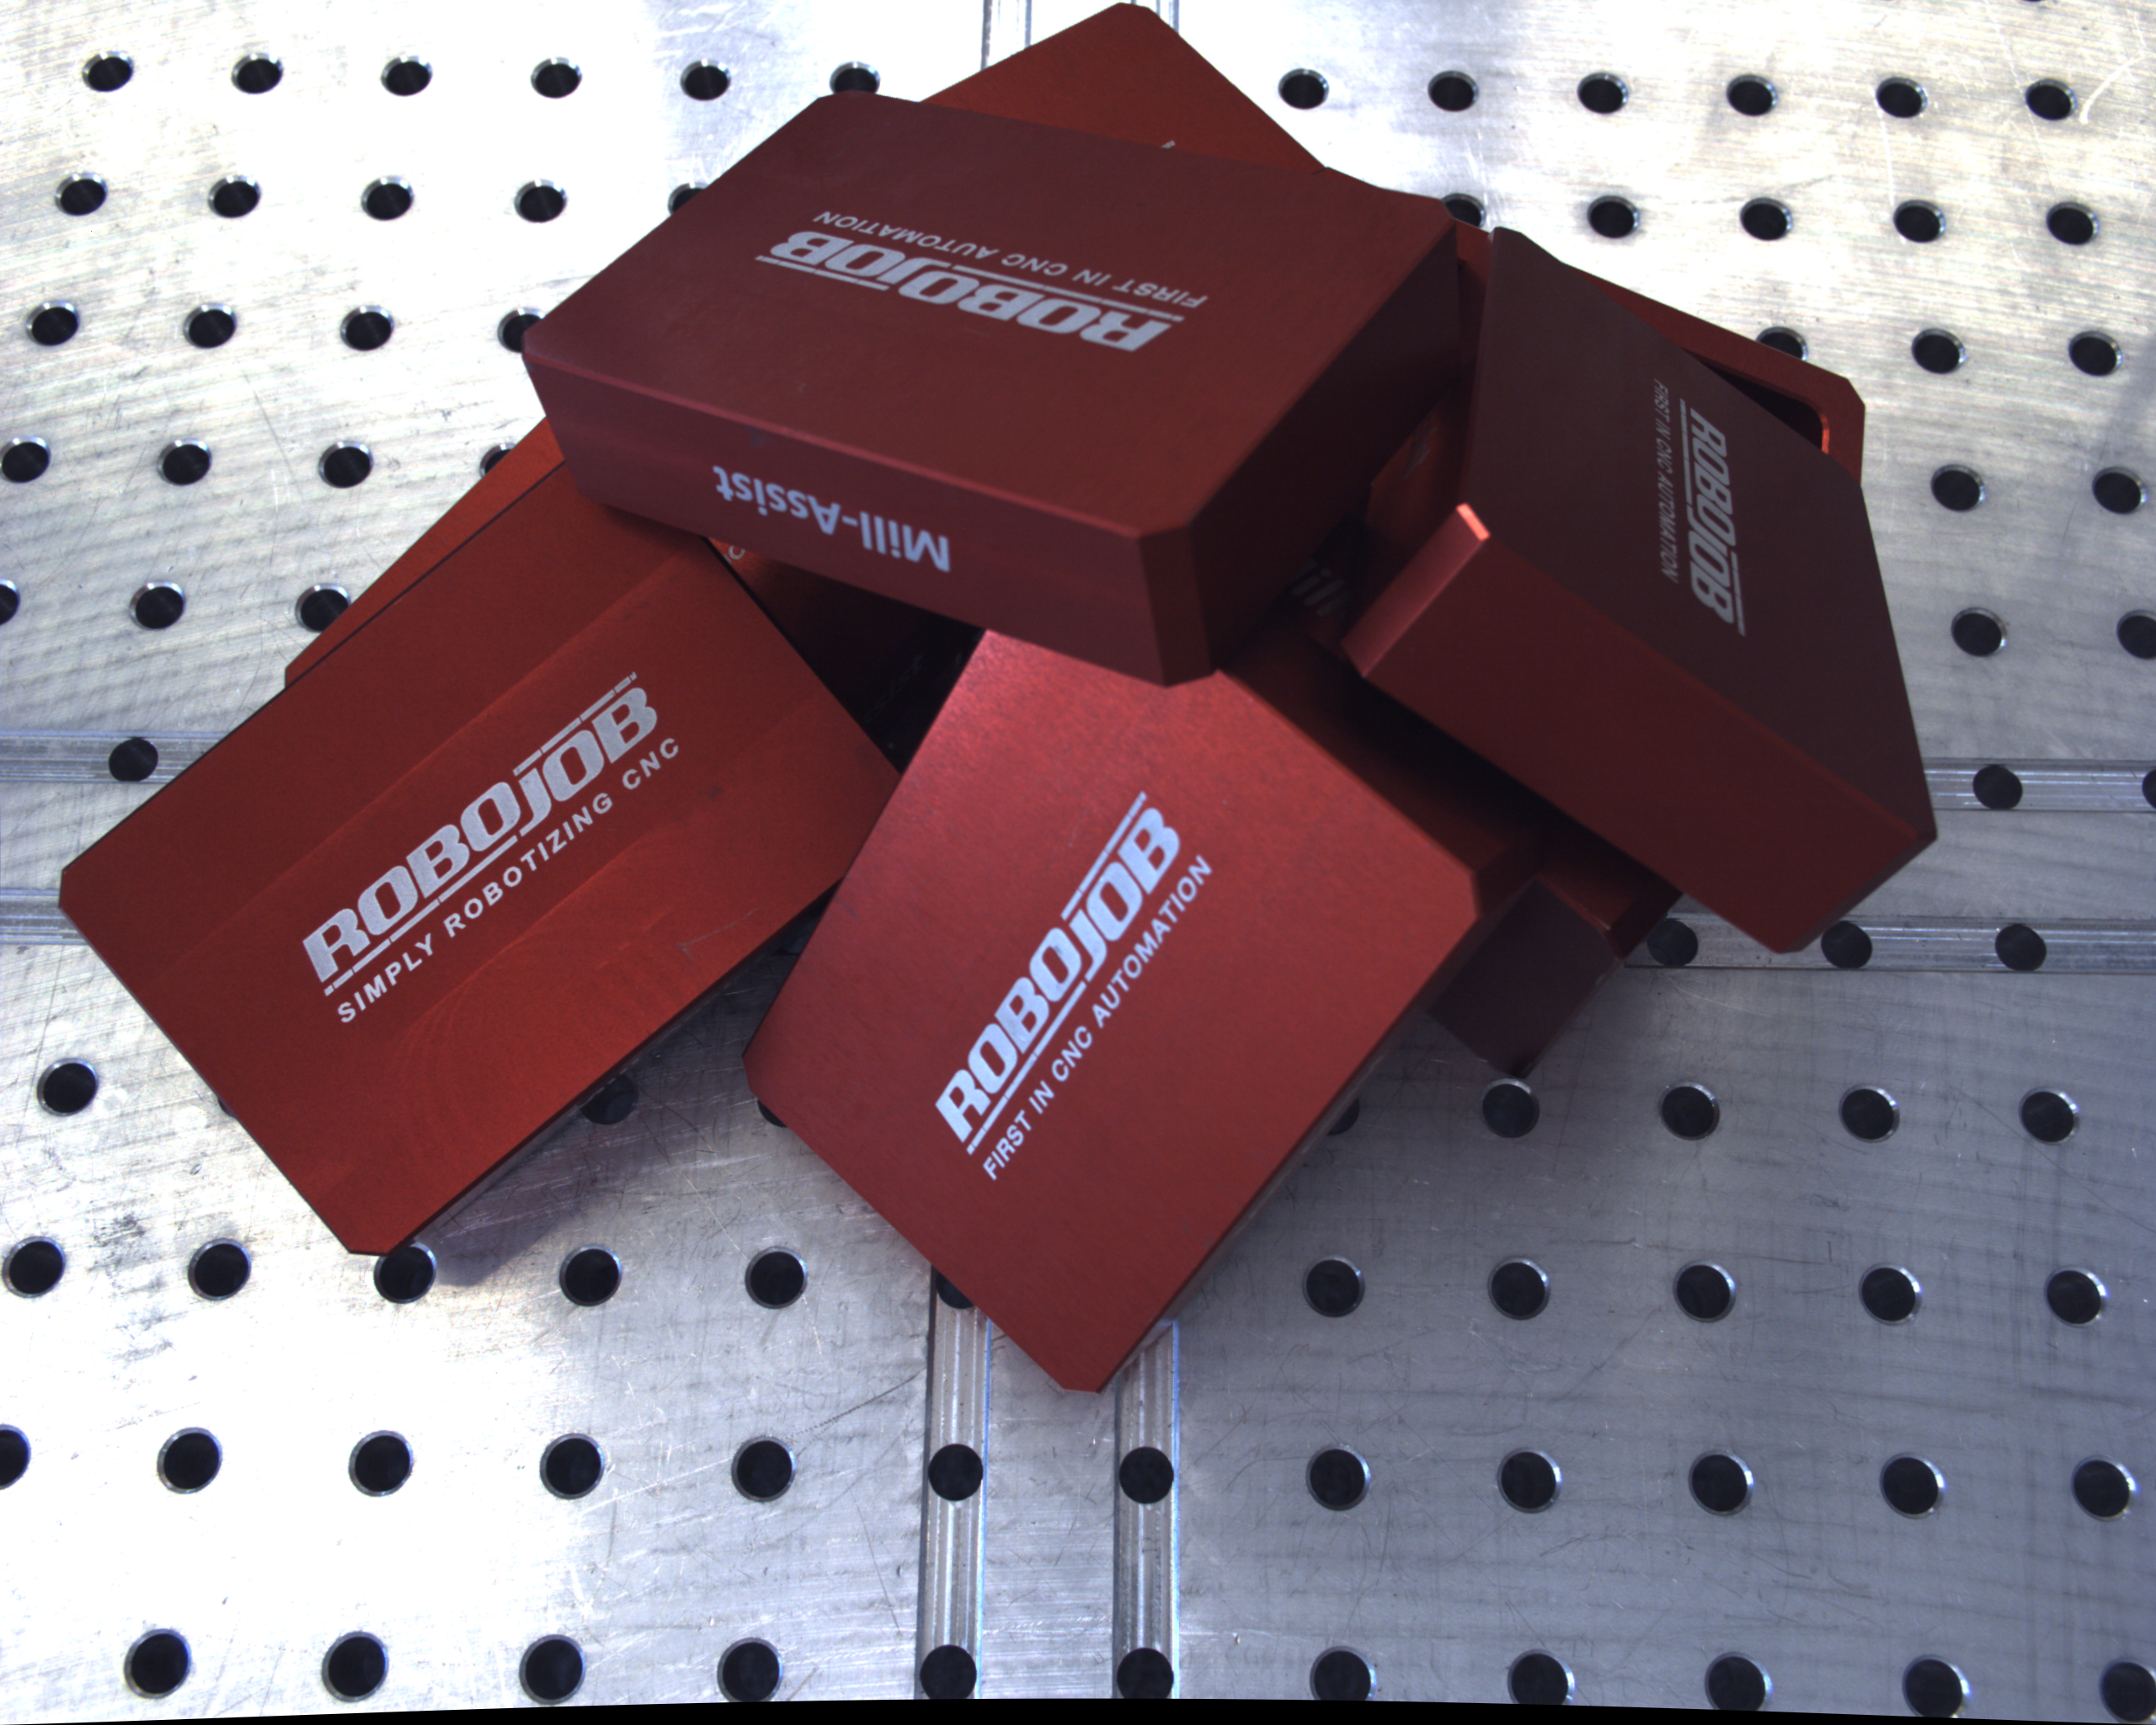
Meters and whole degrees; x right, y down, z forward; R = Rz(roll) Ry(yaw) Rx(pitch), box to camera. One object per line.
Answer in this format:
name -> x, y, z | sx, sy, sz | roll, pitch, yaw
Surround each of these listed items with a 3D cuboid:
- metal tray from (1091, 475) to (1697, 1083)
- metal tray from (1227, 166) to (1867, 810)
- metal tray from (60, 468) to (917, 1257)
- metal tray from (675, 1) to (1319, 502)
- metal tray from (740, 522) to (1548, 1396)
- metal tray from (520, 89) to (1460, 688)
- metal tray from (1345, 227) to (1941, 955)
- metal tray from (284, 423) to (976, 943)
metal tray -> 0.051, -0.023, 0.387 | 0.130, 0.090, 0.030 | 42, 76, 14
metal tray -> 0.091, -0.072, 0.412 | 0.131, 0.030, 0.090 | 17, 69, -15
metal tray -> -0.105, -0.003, 0.385 | 0.130, 0.030, 0.090 | -40, 90, -2
metal tray -> -0.006, -0.119, 0.432 | 0.131, 0.030, 0.090 | -37, 76, -27
metal tray -> 0.005, 0.019, 0.356 | 0.090, 0.129, 0.030 | 42, 33, 13
metal tray -> -0.015, -0.084, 0.346 | 0.130, 0.030, 0.090 | 21, 56, 28
metal tray -> 0.097, -0.053, 0.362 | 0.090, 0.030, 0.130 | 33, 36, -10
metal tray -> -0.082, -0.051, 0.427 | 0.090, 0.030, 0.130 | 37, 74, 12
